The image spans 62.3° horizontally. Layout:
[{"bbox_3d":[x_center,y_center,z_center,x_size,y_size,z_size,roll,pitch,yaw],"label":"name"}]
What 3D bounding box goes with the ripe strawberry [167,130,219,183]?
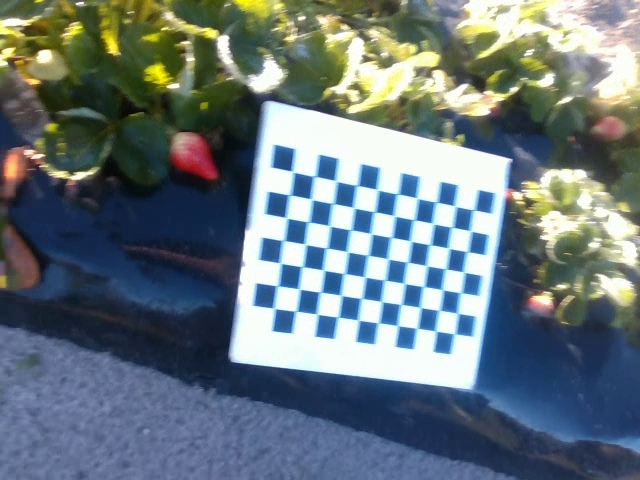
[{"bbox_3d":[-0.138,-0.087,0.582,0.040,0.065,0.040,-42,11,-12],"label":"ripe strawberry"}]
